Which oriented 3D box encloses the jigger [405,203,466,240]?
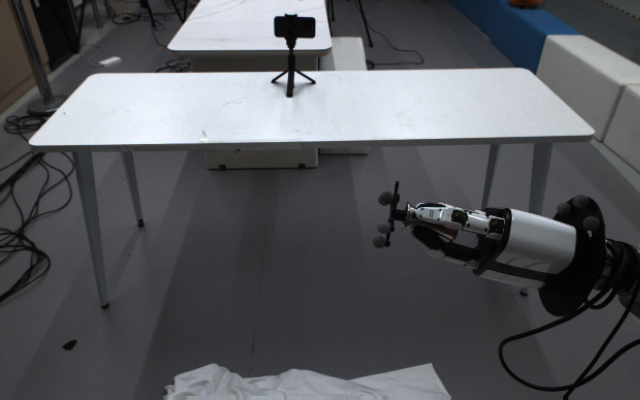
[{"bbox_3d":[0.152,0.024,0.640,0.071,0.043,0.043,11,35,3],"label":"jigger"}]
